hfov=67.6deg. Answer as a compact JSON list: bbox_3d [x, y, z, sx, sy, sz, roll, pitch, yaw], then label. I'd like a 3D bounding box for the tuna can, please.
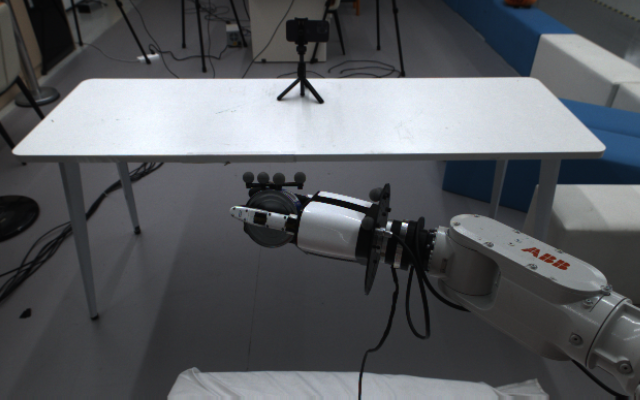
[{"bbox_3d":[-0.066,0.026,0.710,0.085,0.085,0.034,12,8,14],"label":"tuna can"}]
